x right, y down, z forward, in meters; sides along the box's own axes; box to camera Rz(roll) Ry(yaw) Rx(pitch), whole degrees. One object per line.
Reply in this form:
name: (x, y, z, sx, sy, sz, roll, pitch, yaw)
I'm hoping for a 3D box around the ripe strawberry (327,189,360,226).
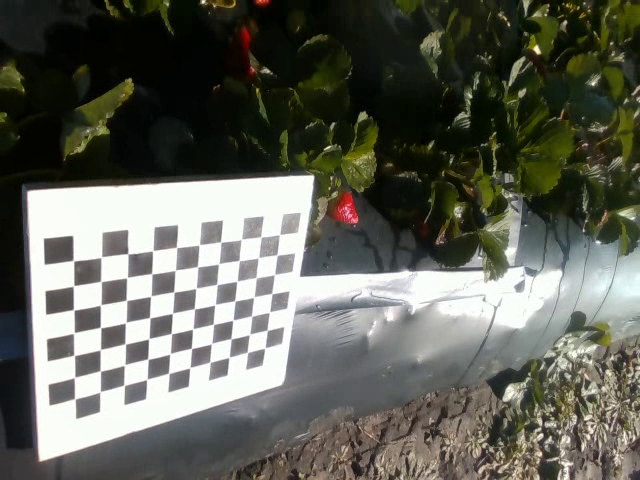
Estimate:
ripe strawberry: (0.034, -0.037, 0.784, 0.029, 0.048, 0.055, 34, -12, 47)
